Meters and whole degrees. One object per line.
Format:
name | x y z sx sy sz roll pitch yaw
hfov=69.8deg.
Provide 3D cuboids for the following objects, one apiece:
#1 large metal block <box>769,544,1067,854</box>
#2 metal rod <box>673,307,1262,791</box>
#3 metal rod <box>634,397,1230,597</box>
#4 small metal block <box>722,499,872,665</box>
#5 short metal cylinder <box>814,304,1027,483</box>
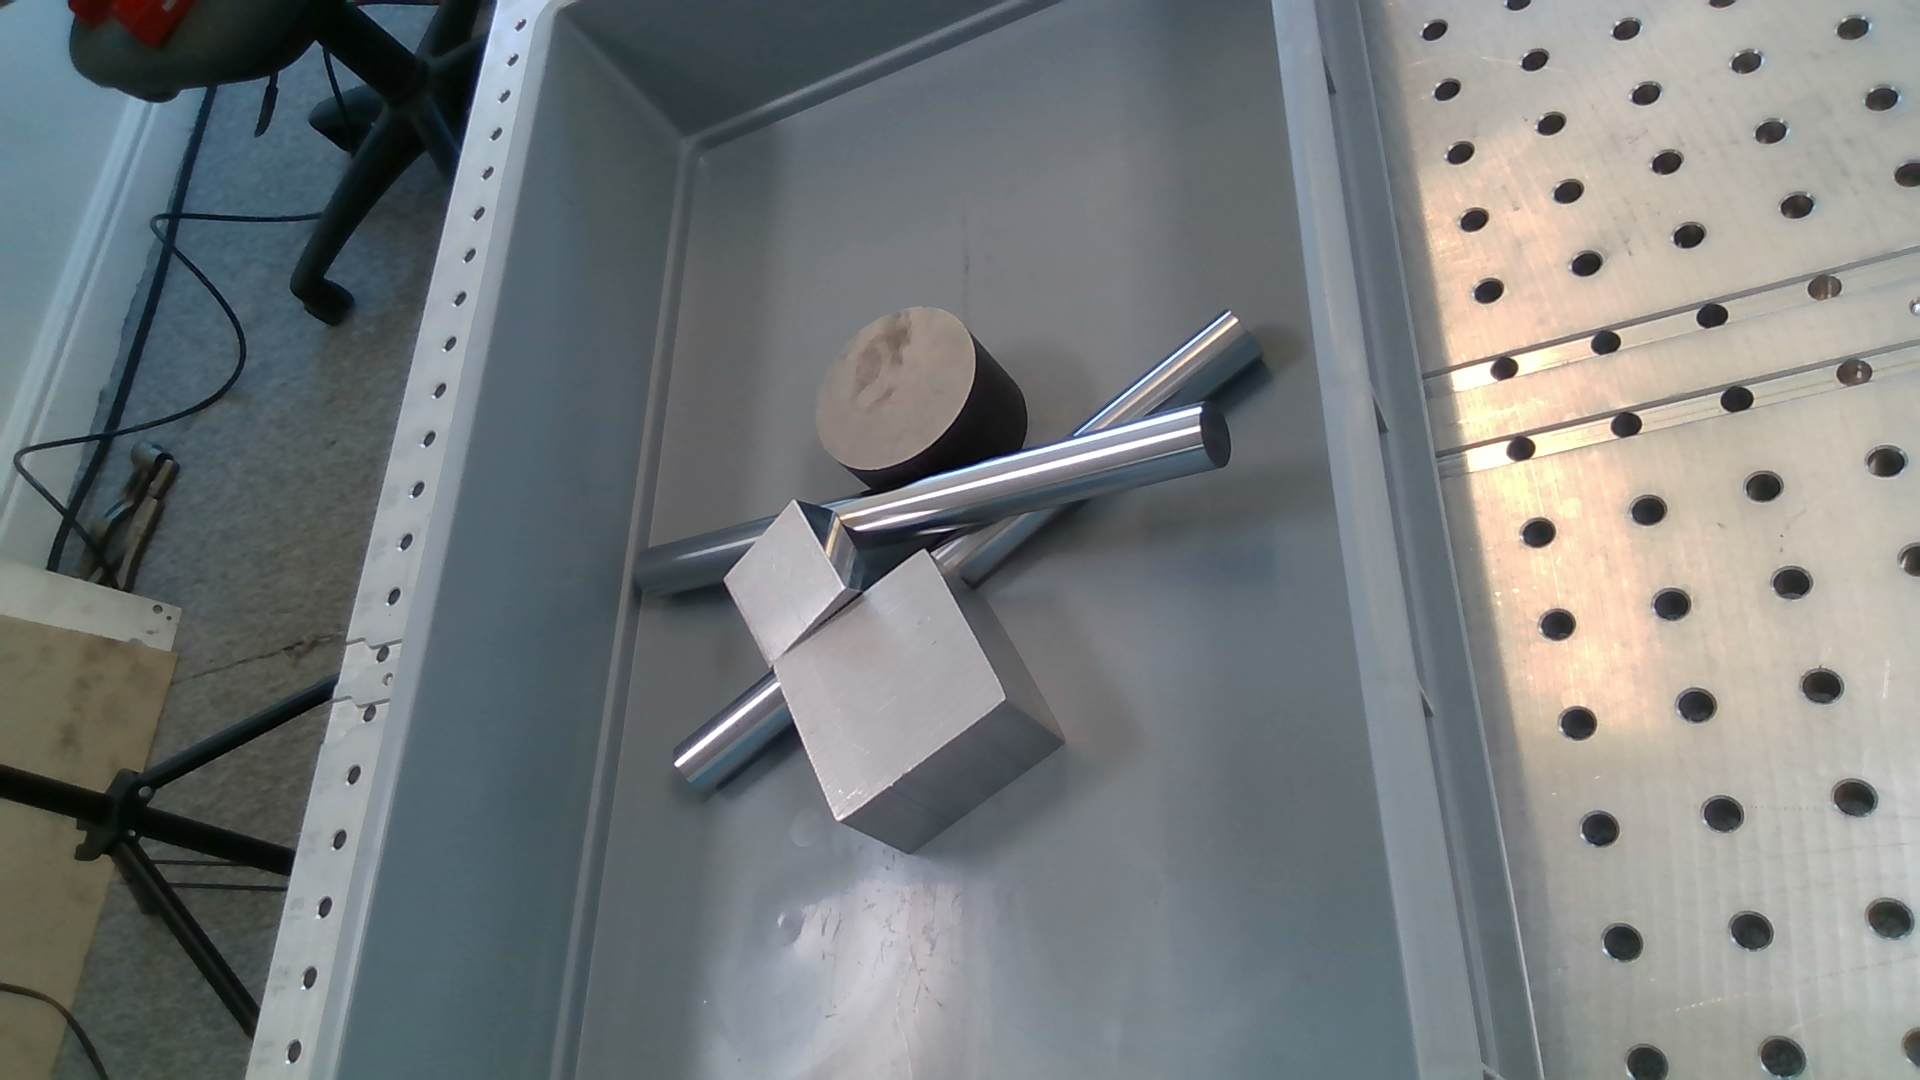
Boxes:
large metal block | -0.018 0.063 0.545 0.080 0.050 0.080 -38 52 9
metal rod | -0.001 0.008 0.581 0.300 0.025 0.025 -39 52 9
metal rod | -0.028 -0.011 0.582 0.300 0.025 0.025 -13 59 35
small metal block | -0.066 0.020 0.573 0.050 0.025 0.050 -47 57 21
short metal cylinder | -0.017 -0.056 0.609 0.080 0.050 0.080 -14 59 25
